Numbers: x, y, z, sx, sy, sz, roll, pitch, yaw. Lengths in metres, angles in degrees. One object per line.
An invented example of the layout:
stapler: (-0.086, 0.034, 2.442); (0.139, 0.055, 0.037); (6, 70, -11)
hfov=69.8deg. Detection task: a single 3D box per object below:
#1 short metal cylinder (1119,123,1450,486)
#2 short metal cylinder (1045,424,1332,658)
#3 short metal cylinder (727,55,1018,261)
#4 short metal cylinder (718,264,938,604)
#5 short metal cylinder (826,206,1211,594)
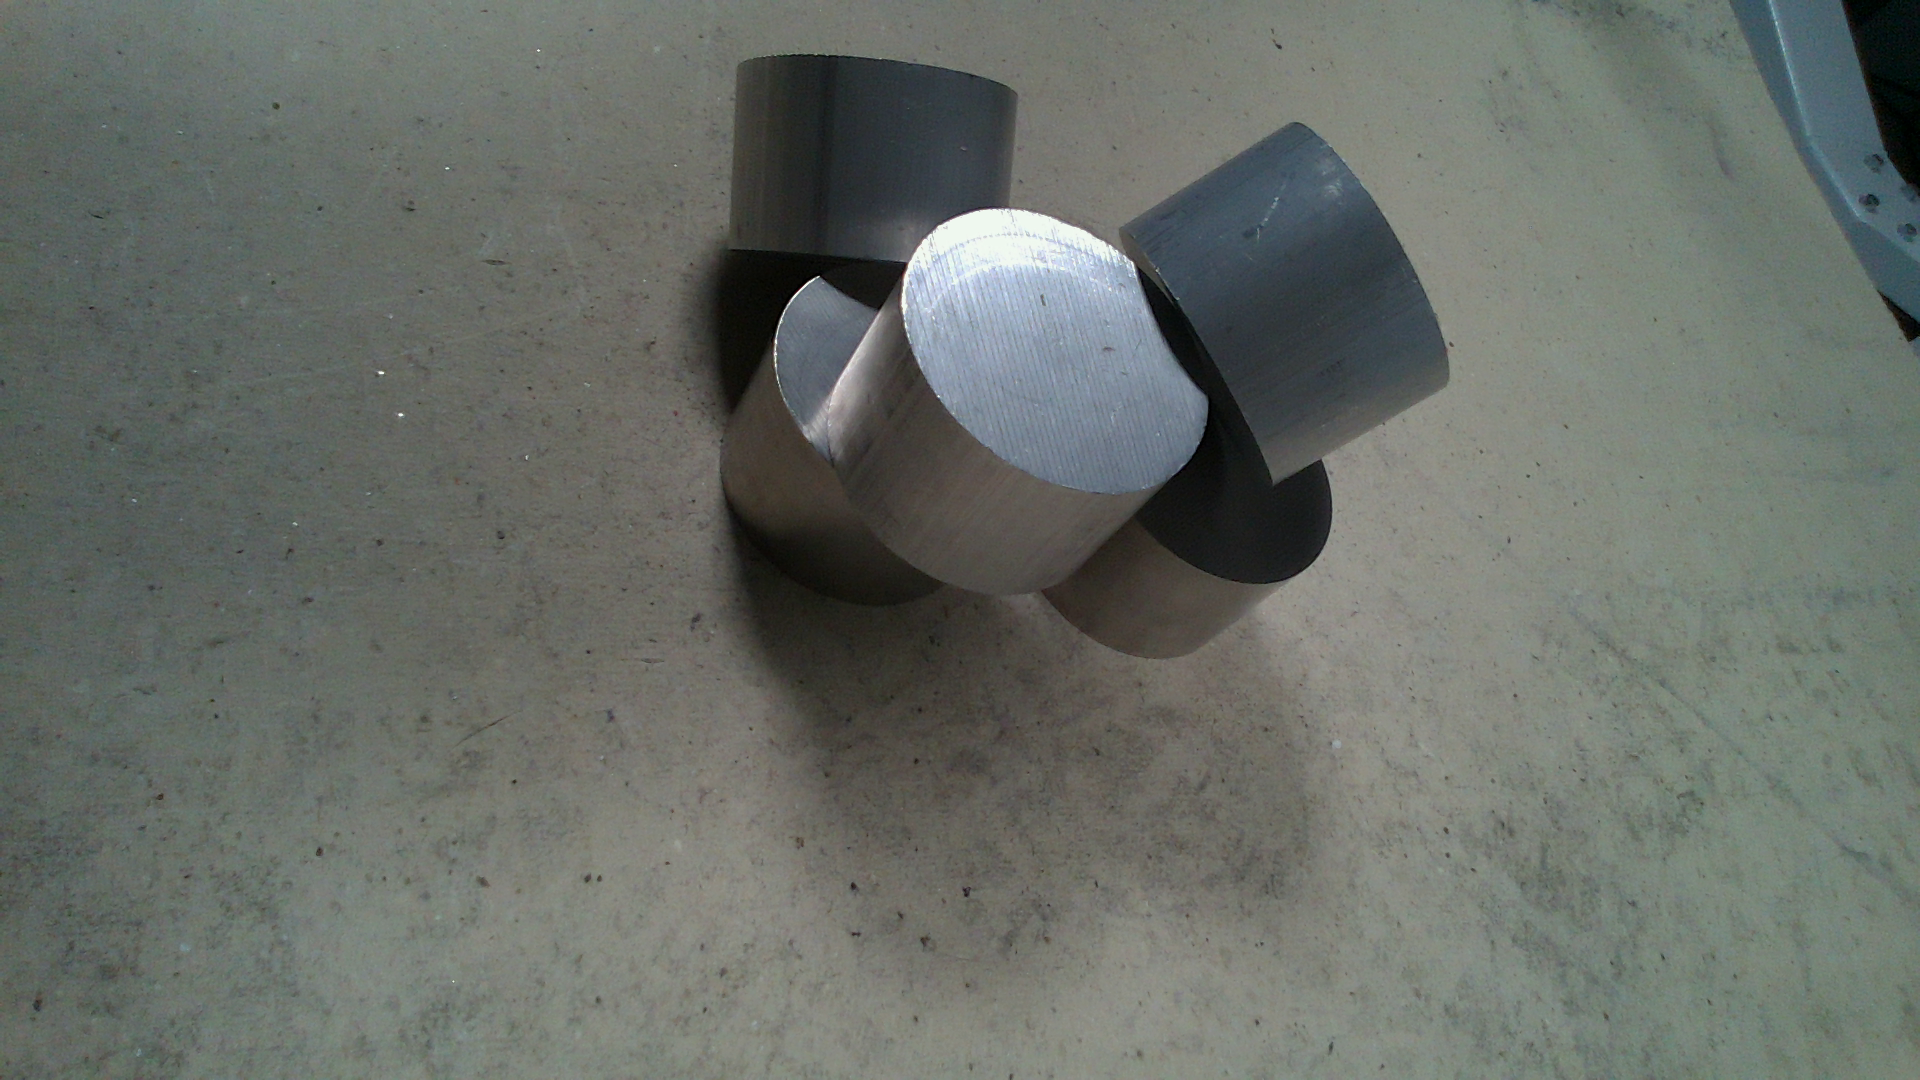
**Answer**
short metal cylinder: (0.084, -0.061, 0.364); (0.050, 0.080, 0.080); (-31, 75, 6)
short metal cylinder: (0.063, -0.011, 0.414); (0.080, 0.050, 0.080); (14, 56, -21)
short metal cylinder: (-0.025, -0.106, 0.397); (0.080, 0.080, 0.050); (0, 100, -28)
short metal cylinder: (-0.021, -0.029, 0.380); (0.080, 0.050, 0.080); (14, 56, -21)
short metal cylinder: (0.014, -0.034, 0.337); (0.080, 0.050, 0.080); (14, 56, -21)
